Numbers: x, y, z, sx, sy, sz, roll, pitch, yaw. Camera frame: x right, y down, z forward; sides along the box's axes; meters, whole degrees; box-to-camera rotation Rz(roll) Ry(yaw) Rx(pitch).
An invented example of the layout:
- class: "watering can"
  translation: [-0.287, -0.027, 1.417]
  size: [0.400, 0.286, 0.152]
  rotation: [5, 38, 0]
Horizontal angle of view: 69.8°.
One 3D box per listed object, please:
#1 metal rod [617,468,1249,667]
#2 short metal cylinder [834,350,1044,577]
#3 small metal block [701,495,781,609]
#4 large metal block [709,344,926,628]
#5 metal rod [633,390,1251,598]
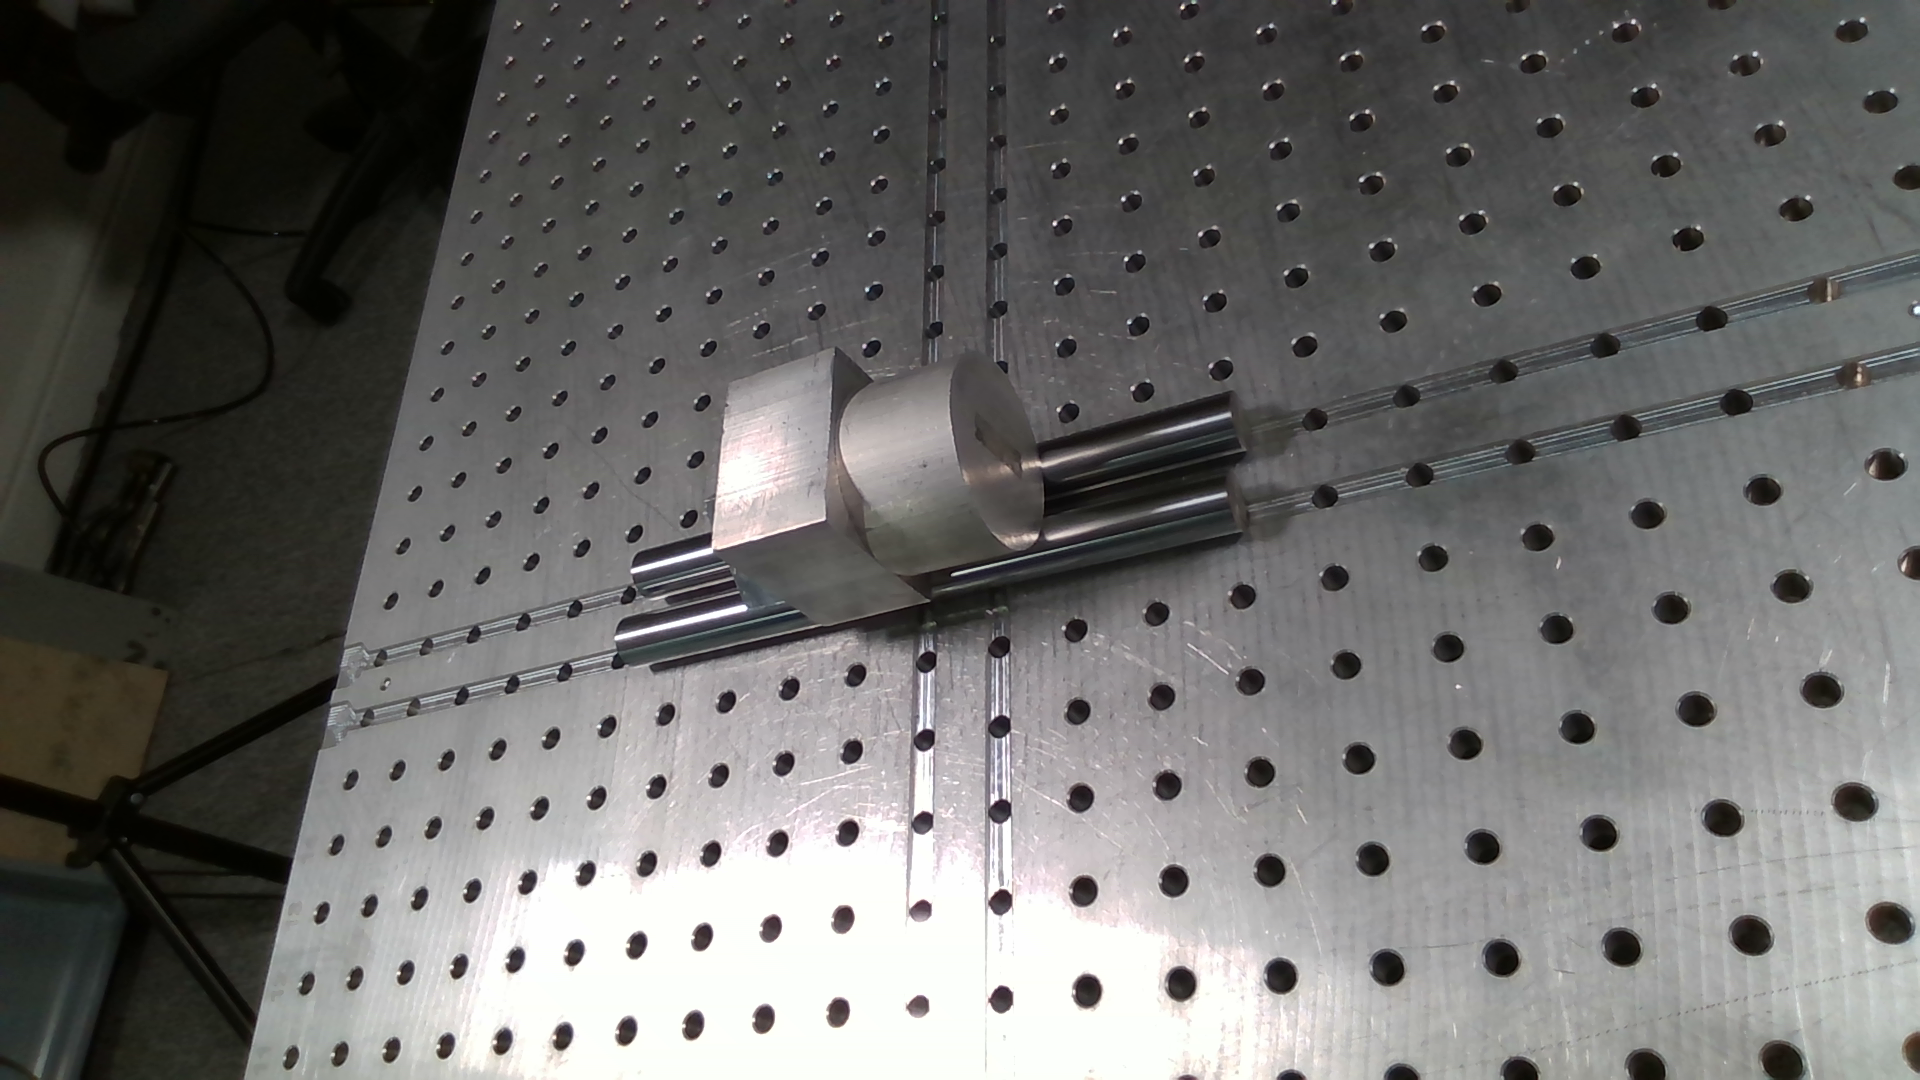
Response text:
- class: "metal rod"
  translation: [-0.024, 0.017, 0.596]
  size: [0.300, 0.025, 0.025]
  rotation: [-14, 59, 25]
- class: "short metal cylinder"
  translation: [-0.007, -0.030, 0.545]
  size: [0.050, 0.080, 0.080]
  rotation: [-14, 59, 25]
- class: "small metal block"
  translation: [-0.080, -0.005, 0.595]
  size: [0.025, 0.050, 0.050]
  rotation: [-14, 104, 25]
- class: "large metal block"
  translation: [-0.055, -0.020, 0.565]
  size: [0.050, 0.080, 0.080]
  rotation: [-14, 59, 25]
- class: "metal rod"
  translation: [-0.020, -0.015, 0.611]
  size: [0.300, 0.025, 0.025]
  rotation: [-14, 59, 25]
